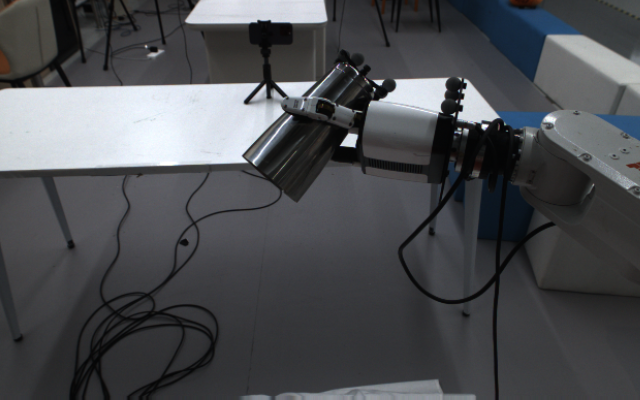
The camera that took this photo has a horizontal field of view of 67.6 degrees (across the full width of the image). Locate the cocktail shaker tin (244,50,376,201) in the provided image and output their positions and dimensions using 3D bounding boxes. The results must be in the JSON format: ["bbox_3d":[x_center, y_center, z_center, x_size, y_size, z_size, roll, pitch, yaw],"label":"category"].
[{"bbox_3d":[-0.008,-0.094,0.618,0.170,0.093,0.093,-48,49,-4],"label":"cocktail shaker tin"}]
